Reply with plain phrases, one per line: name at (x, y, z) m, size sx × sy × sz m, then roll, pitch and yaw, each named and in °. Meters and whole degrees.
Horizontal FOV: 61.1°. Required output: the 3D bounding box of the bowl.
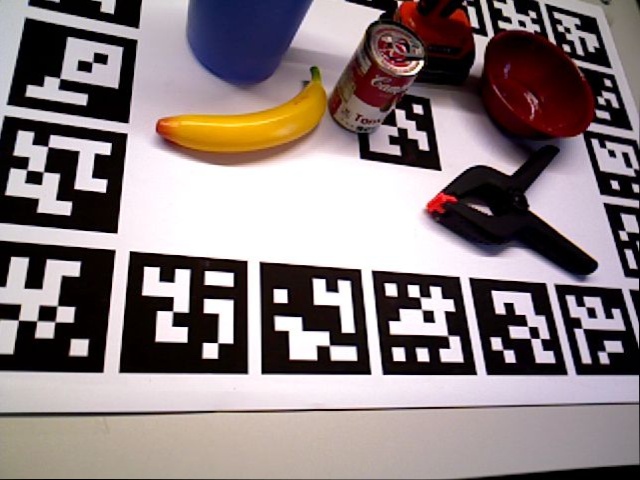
bowl at (0.259, -0.179, 0.660) m, size 0.160 × 0.056 × 0.160 m, roll 7°, pitch 67°, yaw -18°

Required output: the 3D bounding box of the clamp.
clamp at (0.214, -0.037, 0.585) m, size 0.200 × 0.037 × 0.164 m, roll 2°, pitch 71°, yaw -21°

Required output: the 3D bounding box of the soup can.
soup can at (0.058, -0.168, 0.553) m, size 0.067 × 0.104 × 0.067 m, roll 10°, pitch 56°, yaw -16°

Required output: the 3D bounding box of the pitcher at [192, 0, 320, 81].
pitcher at (-0.034, -0.263, 0.474) m, size 0.185 × 0.248 × 0.133 m, roll -21°, pitch 73°, yaw -28°

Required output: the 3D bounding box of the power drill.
power drill at (0.182, -0.274, 0.573) m, size 0.182 × 0.191 × 0.057 m, roll 0°, pitch 67°, yaw -22°

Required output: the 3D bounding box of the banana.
banana at (-0.064, -0.119, 0.523) m, size 0.193 × 0.040 × 0.074 m, roll -22°, pitch 68°, yaw -29°
